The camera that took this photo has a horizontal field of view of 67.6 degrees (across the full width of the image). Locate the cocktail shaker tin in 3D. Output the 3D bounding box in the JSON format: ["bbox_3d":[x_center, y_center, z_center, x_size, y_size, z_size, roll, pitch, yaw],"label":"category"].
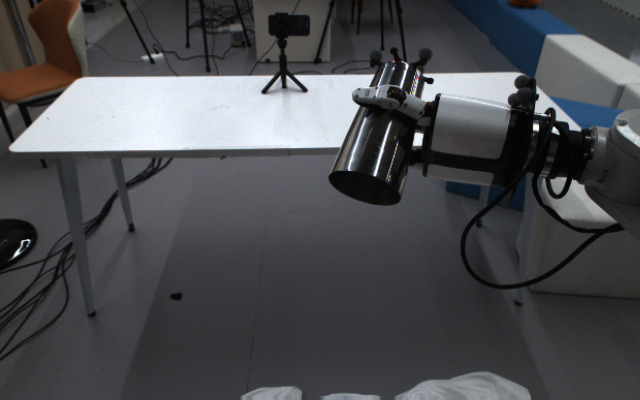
[{"bbox_3d":[0.080,-0.090,0.617,0.093,0.093,0.170,13,70,16],"label":"cocktail shaker tin"}]
